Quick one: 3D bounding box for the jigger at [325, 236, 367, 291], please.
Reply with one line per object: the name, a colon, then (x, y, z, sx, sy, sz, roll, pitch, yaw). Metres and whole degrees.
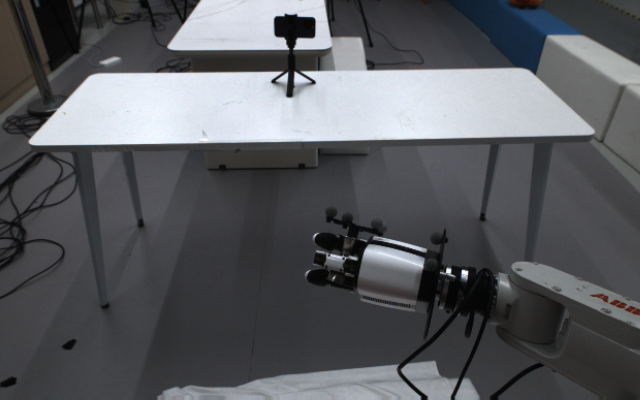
jigger: (0.040, 0.088, 0.706, 0.043, 0.071, 0.043, 16, -7, 2)
